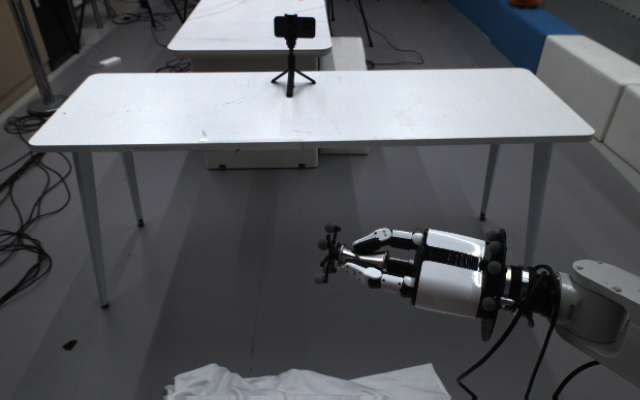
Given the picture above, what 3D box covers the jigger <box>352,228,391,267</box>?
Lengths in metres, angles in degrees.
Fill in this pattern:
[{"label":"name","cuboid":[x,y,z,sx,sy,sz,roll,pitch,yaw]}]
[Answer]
[{"label":"jigger","cuboid":[0.071,0.086,0.720,0.071,0.043,0.043,9,35,17]}]
